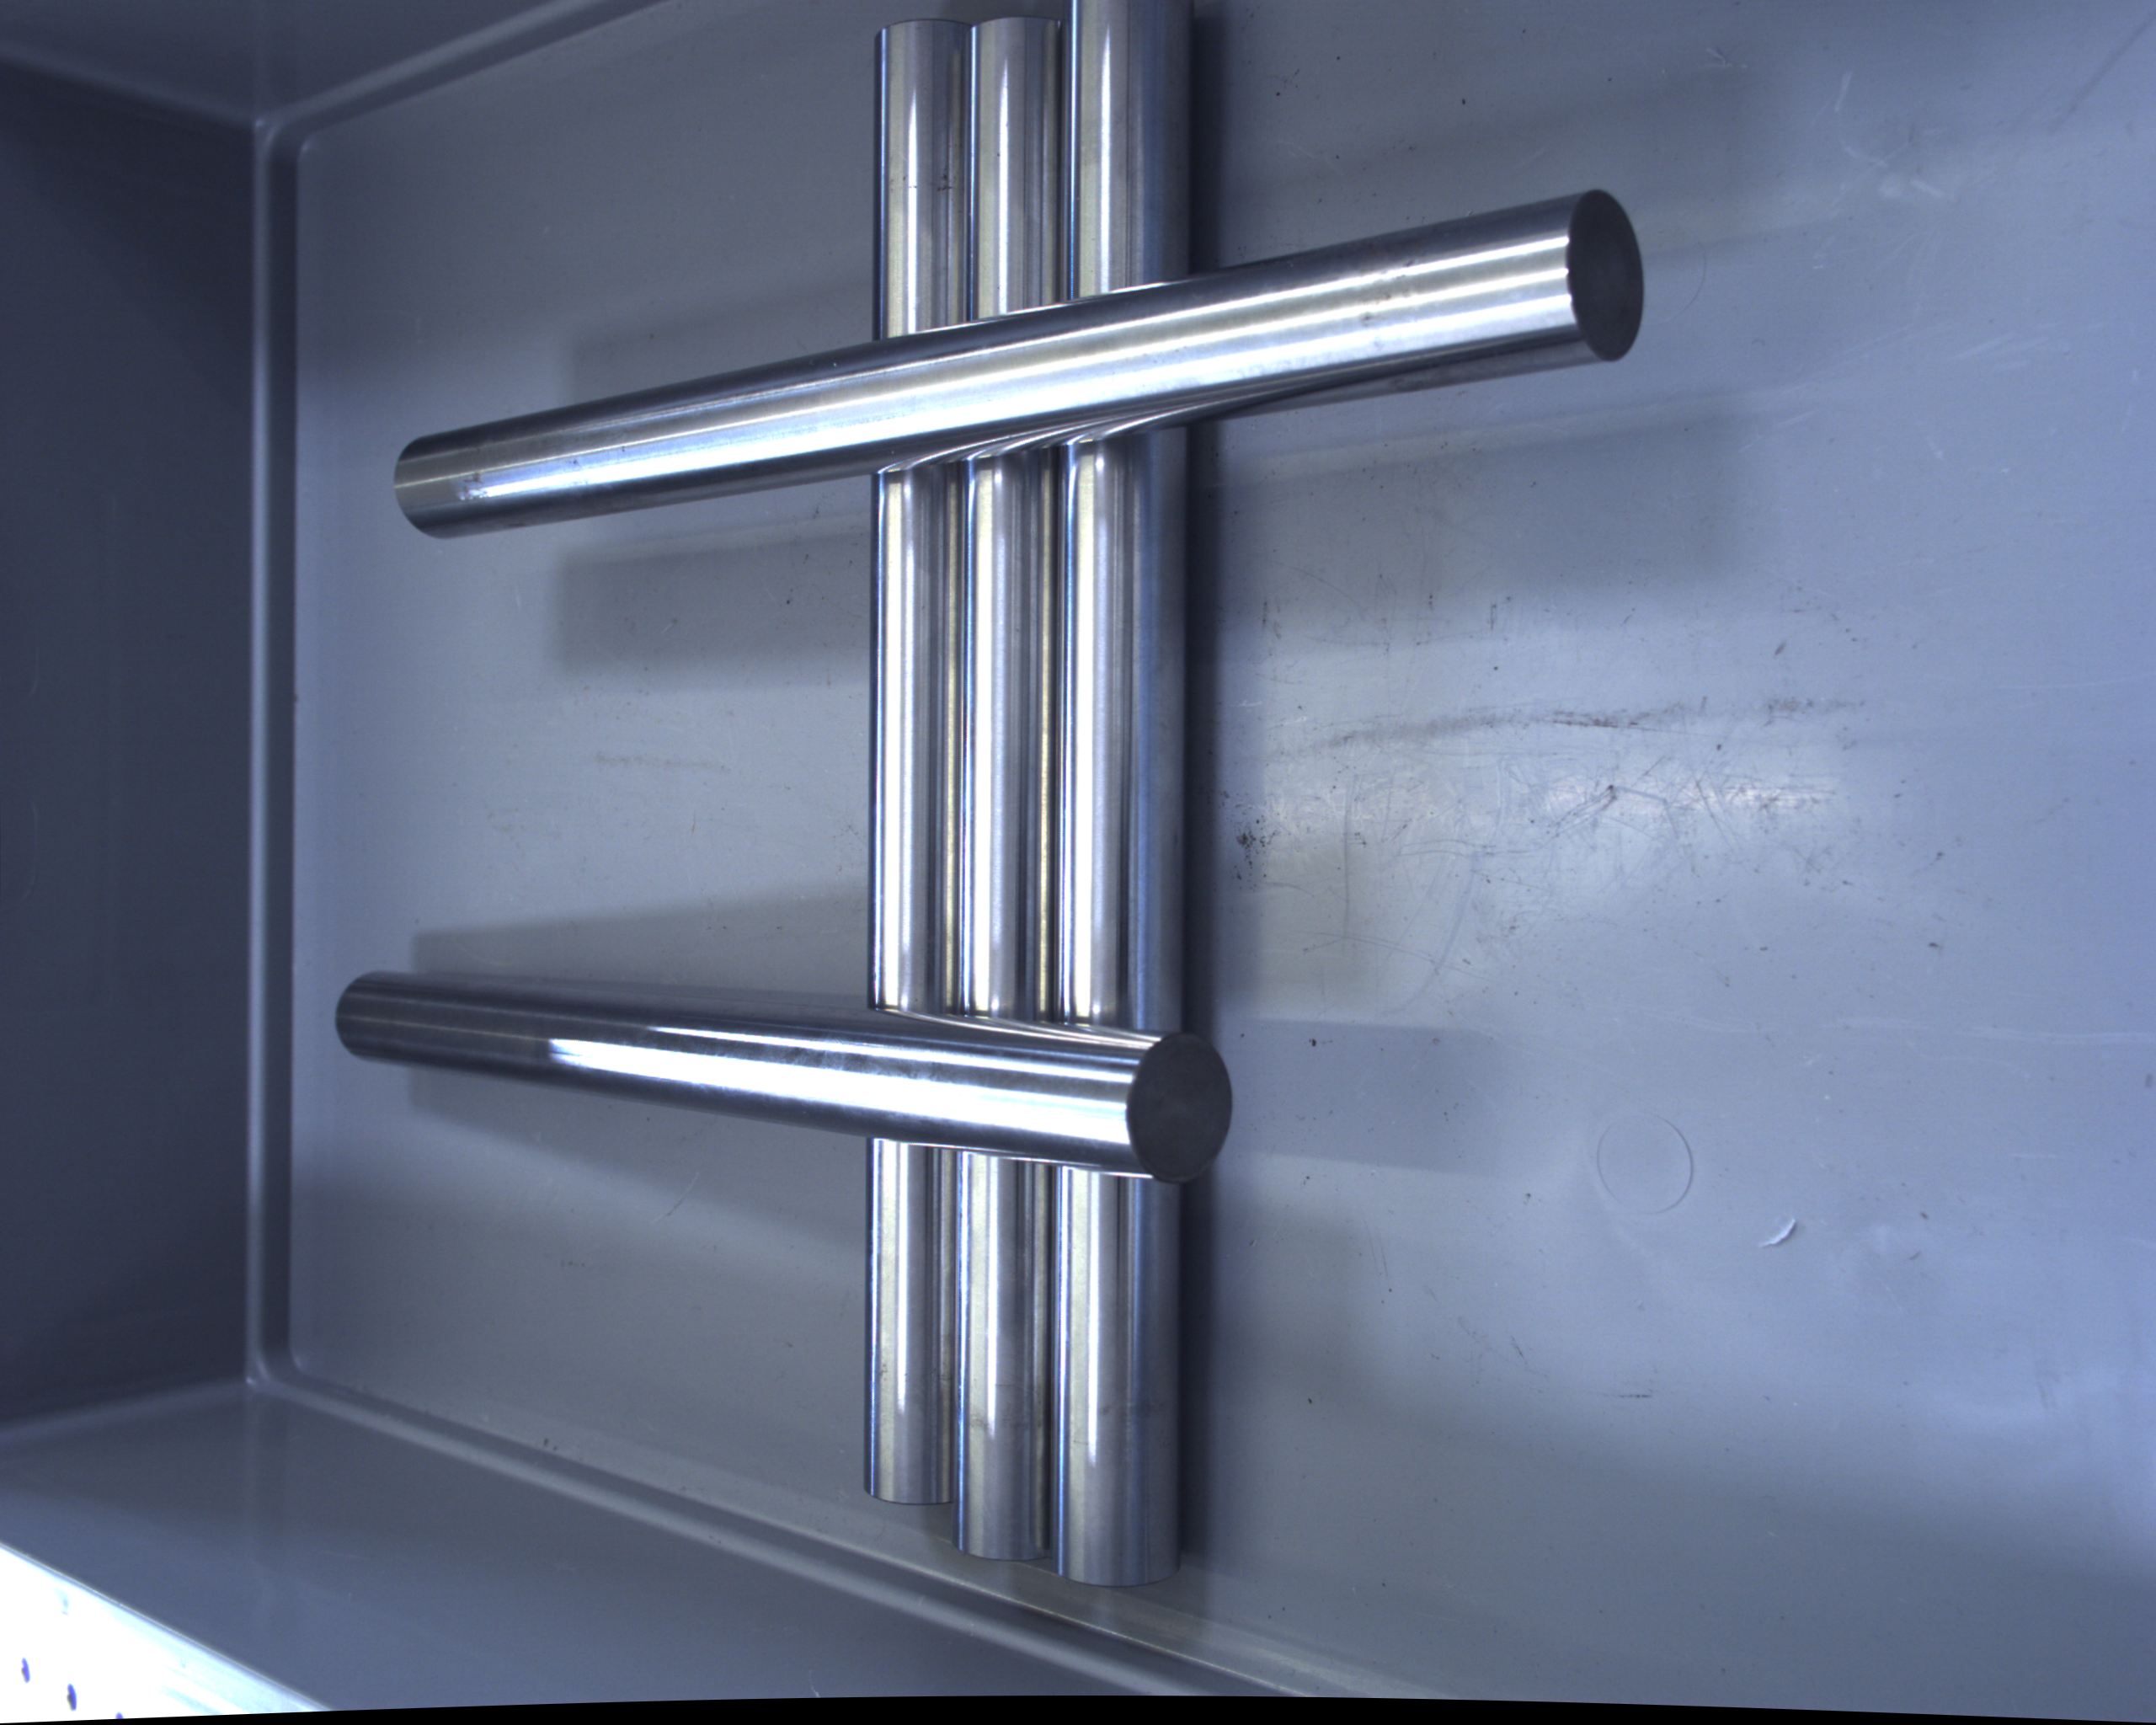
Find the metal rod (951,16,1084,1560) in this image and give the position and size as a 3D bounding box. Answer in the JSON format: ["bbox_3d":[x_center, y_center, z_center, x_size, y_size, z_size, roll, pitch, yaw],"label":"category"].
[{"bbox_3d":[-0.011,-0.014,0.415,0.025,0.025,0.298,1,91,40],"label":"metal rod"}]

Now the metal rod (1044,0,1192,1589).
[{"bbox_3d":[0.008,-0.014,0.398,0.025,0.025,0.298,1,91,40],"label":"metal rod"}]

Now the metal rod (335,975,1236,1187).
[{"bbox_3d":[-0.085,0.041,0.452,0.300,0.025,0.025,0,90,47],"label":"metal rod"}]

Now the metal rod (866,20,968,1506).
[{"bbox_3d":[-0.030,-0.020,0.431,0.025,0.025,0.298,1,91,40],"label":"metal rod"}]

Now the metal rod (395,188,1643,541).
[{"bbox_3d":[-0.037,-0.088,0.403,0.300,0.025,0.025,1,91,40],"label":"metal rod"}]
